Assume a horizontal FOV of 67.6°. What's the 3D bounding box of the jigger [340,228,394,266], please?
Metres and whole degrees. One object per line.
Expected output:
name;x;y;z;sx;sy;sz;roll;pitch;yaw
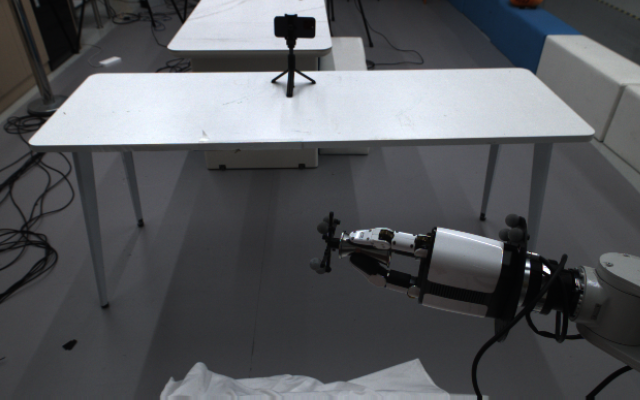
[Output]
jigger;0.069;0.061;0.658;0.071;0.043;0.043;7;35;12
